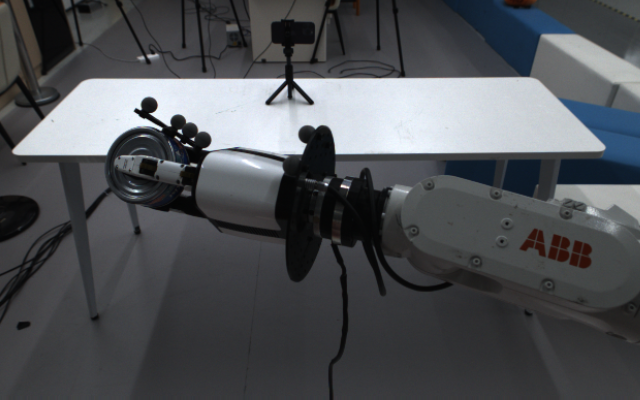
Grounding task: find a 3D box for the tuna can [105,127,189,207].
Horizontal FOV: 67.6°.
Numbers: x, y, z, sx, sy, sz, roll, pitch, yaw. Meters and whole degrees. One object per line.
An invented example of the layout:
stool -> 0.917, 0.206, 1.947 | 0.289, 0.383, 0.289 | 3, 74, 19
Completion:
tuna can -> -0.185, -0.030, 0.526 | 0.085, 0.085, 0.034 | 12, -5, 14
